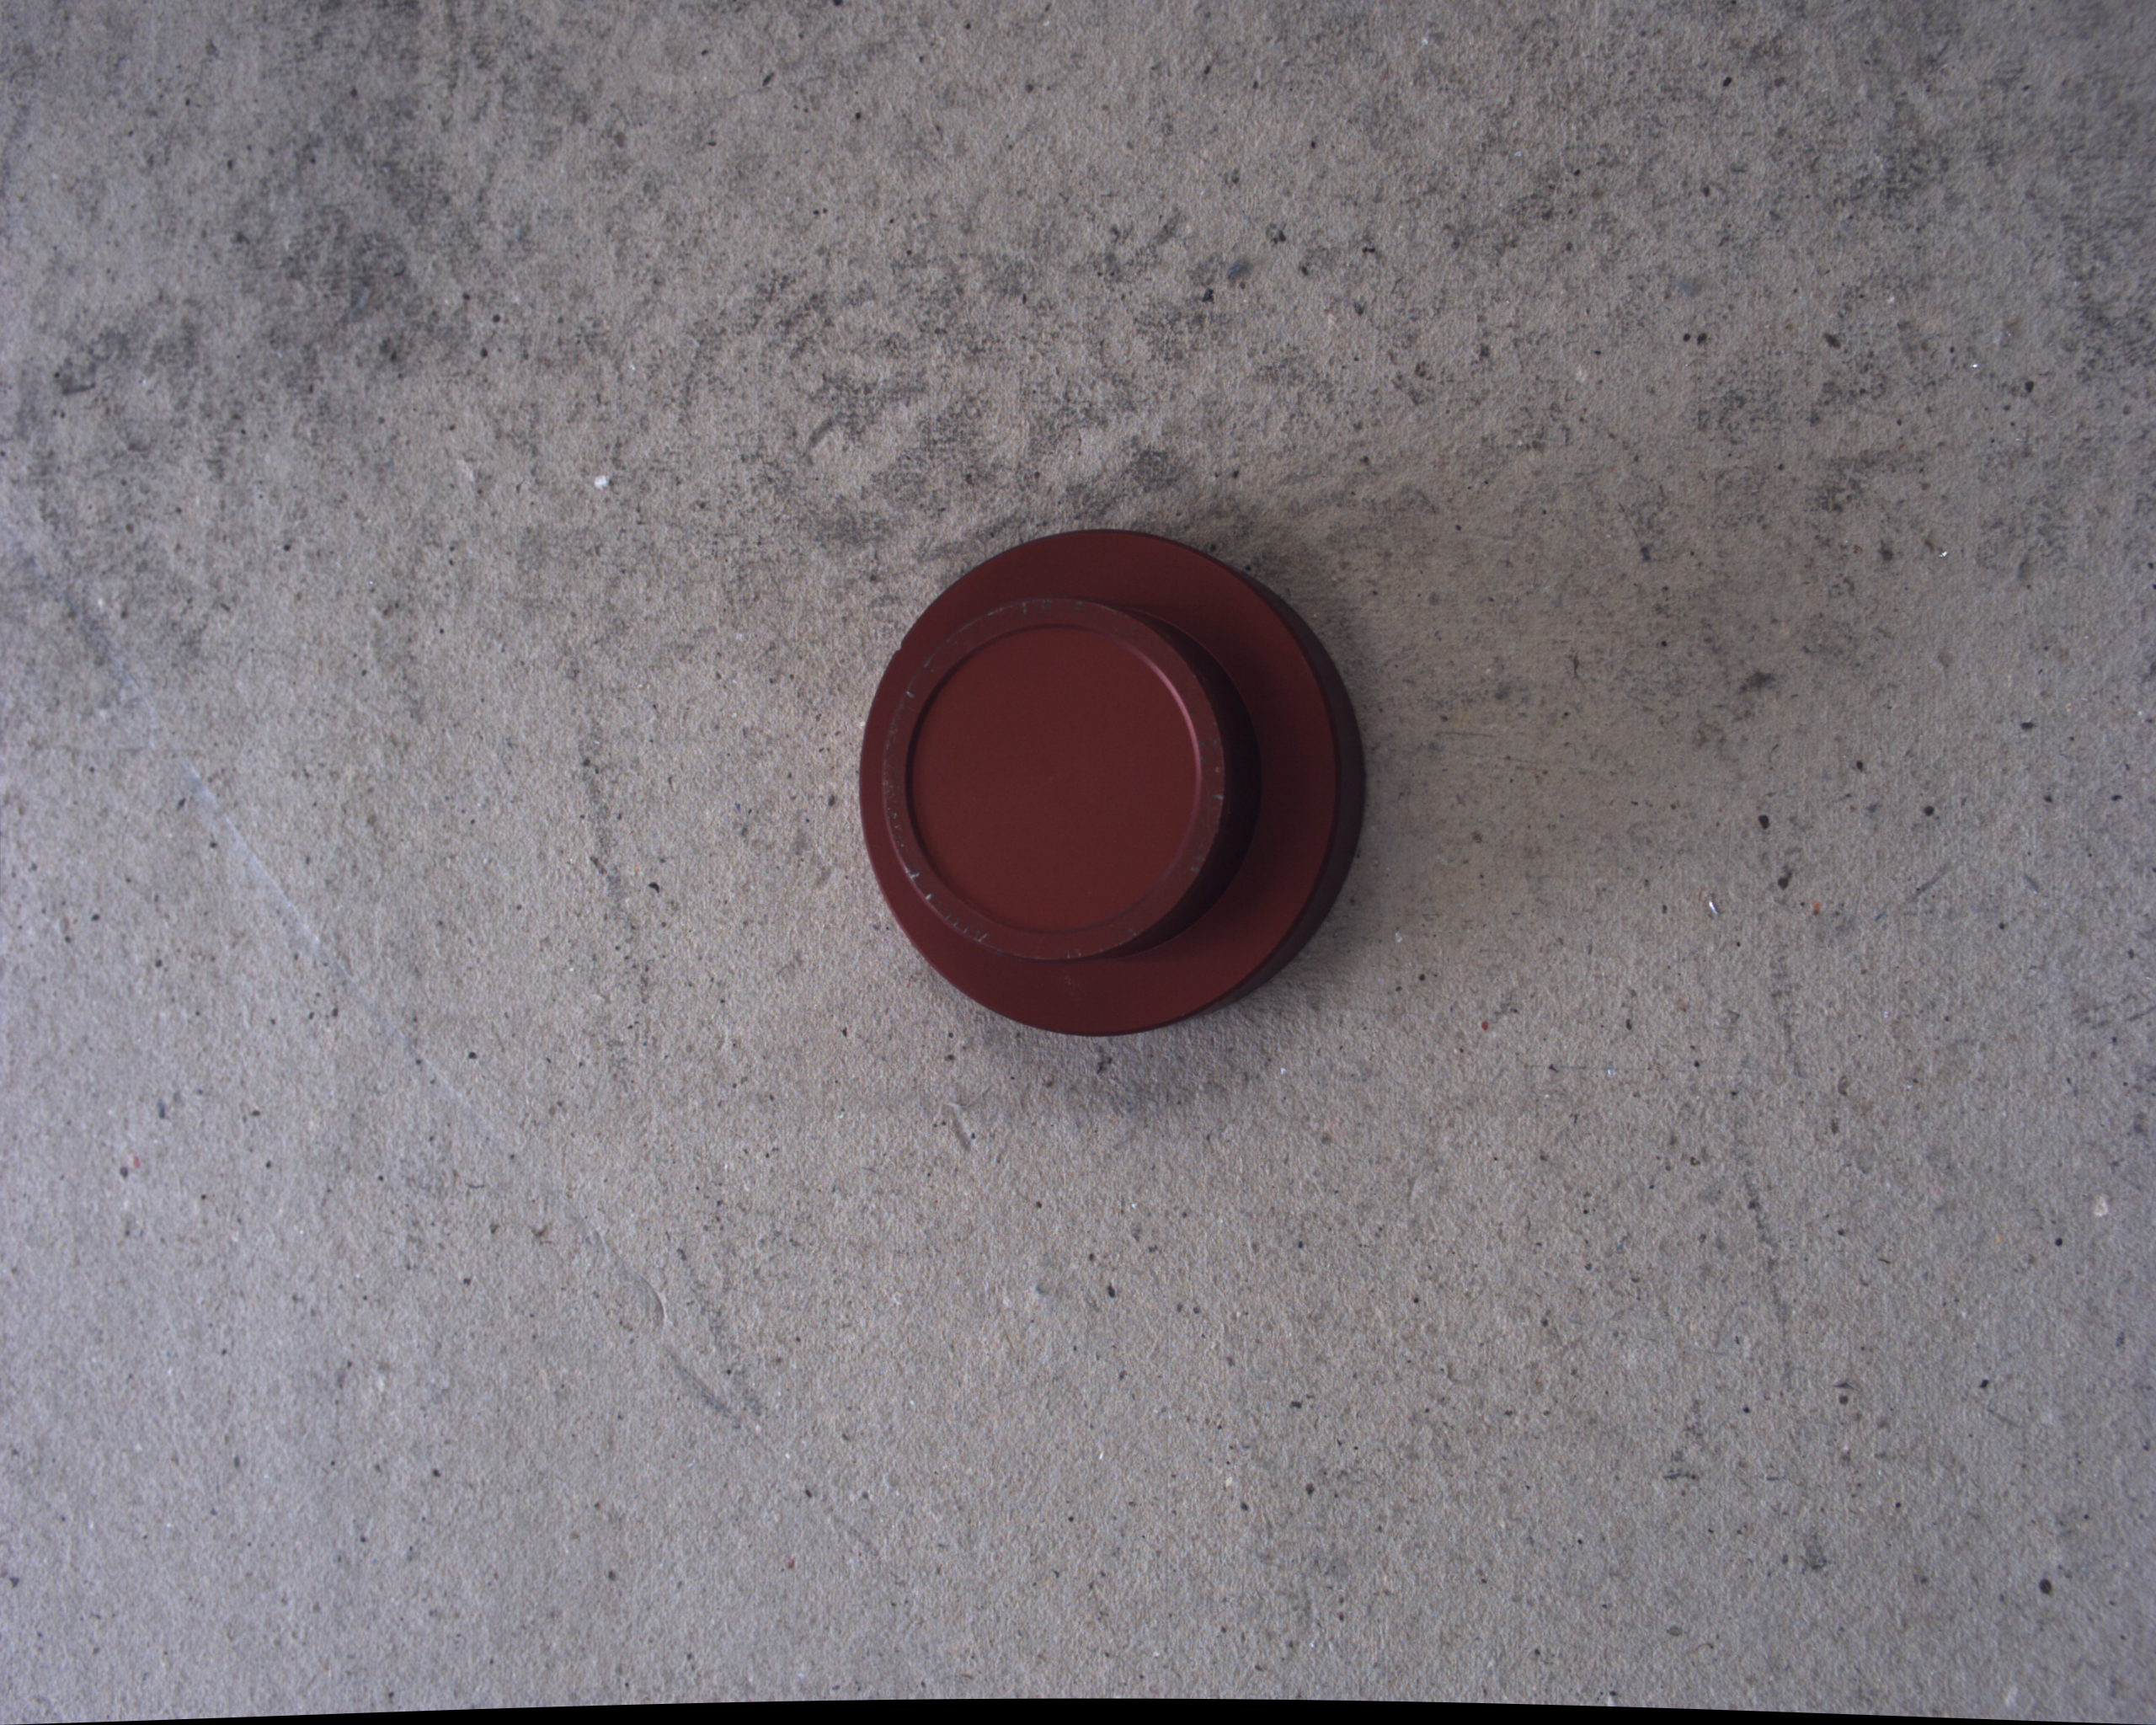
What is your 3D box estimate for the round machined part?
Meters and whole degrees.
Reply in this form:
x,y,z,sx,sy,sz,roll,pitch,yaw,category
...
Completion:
x,y,z,sx,sy,sz,roll,pitch,yaw,category
0.002,-0.015,0.401,0.098,0.042,0.097,0,90,20,round machined part
